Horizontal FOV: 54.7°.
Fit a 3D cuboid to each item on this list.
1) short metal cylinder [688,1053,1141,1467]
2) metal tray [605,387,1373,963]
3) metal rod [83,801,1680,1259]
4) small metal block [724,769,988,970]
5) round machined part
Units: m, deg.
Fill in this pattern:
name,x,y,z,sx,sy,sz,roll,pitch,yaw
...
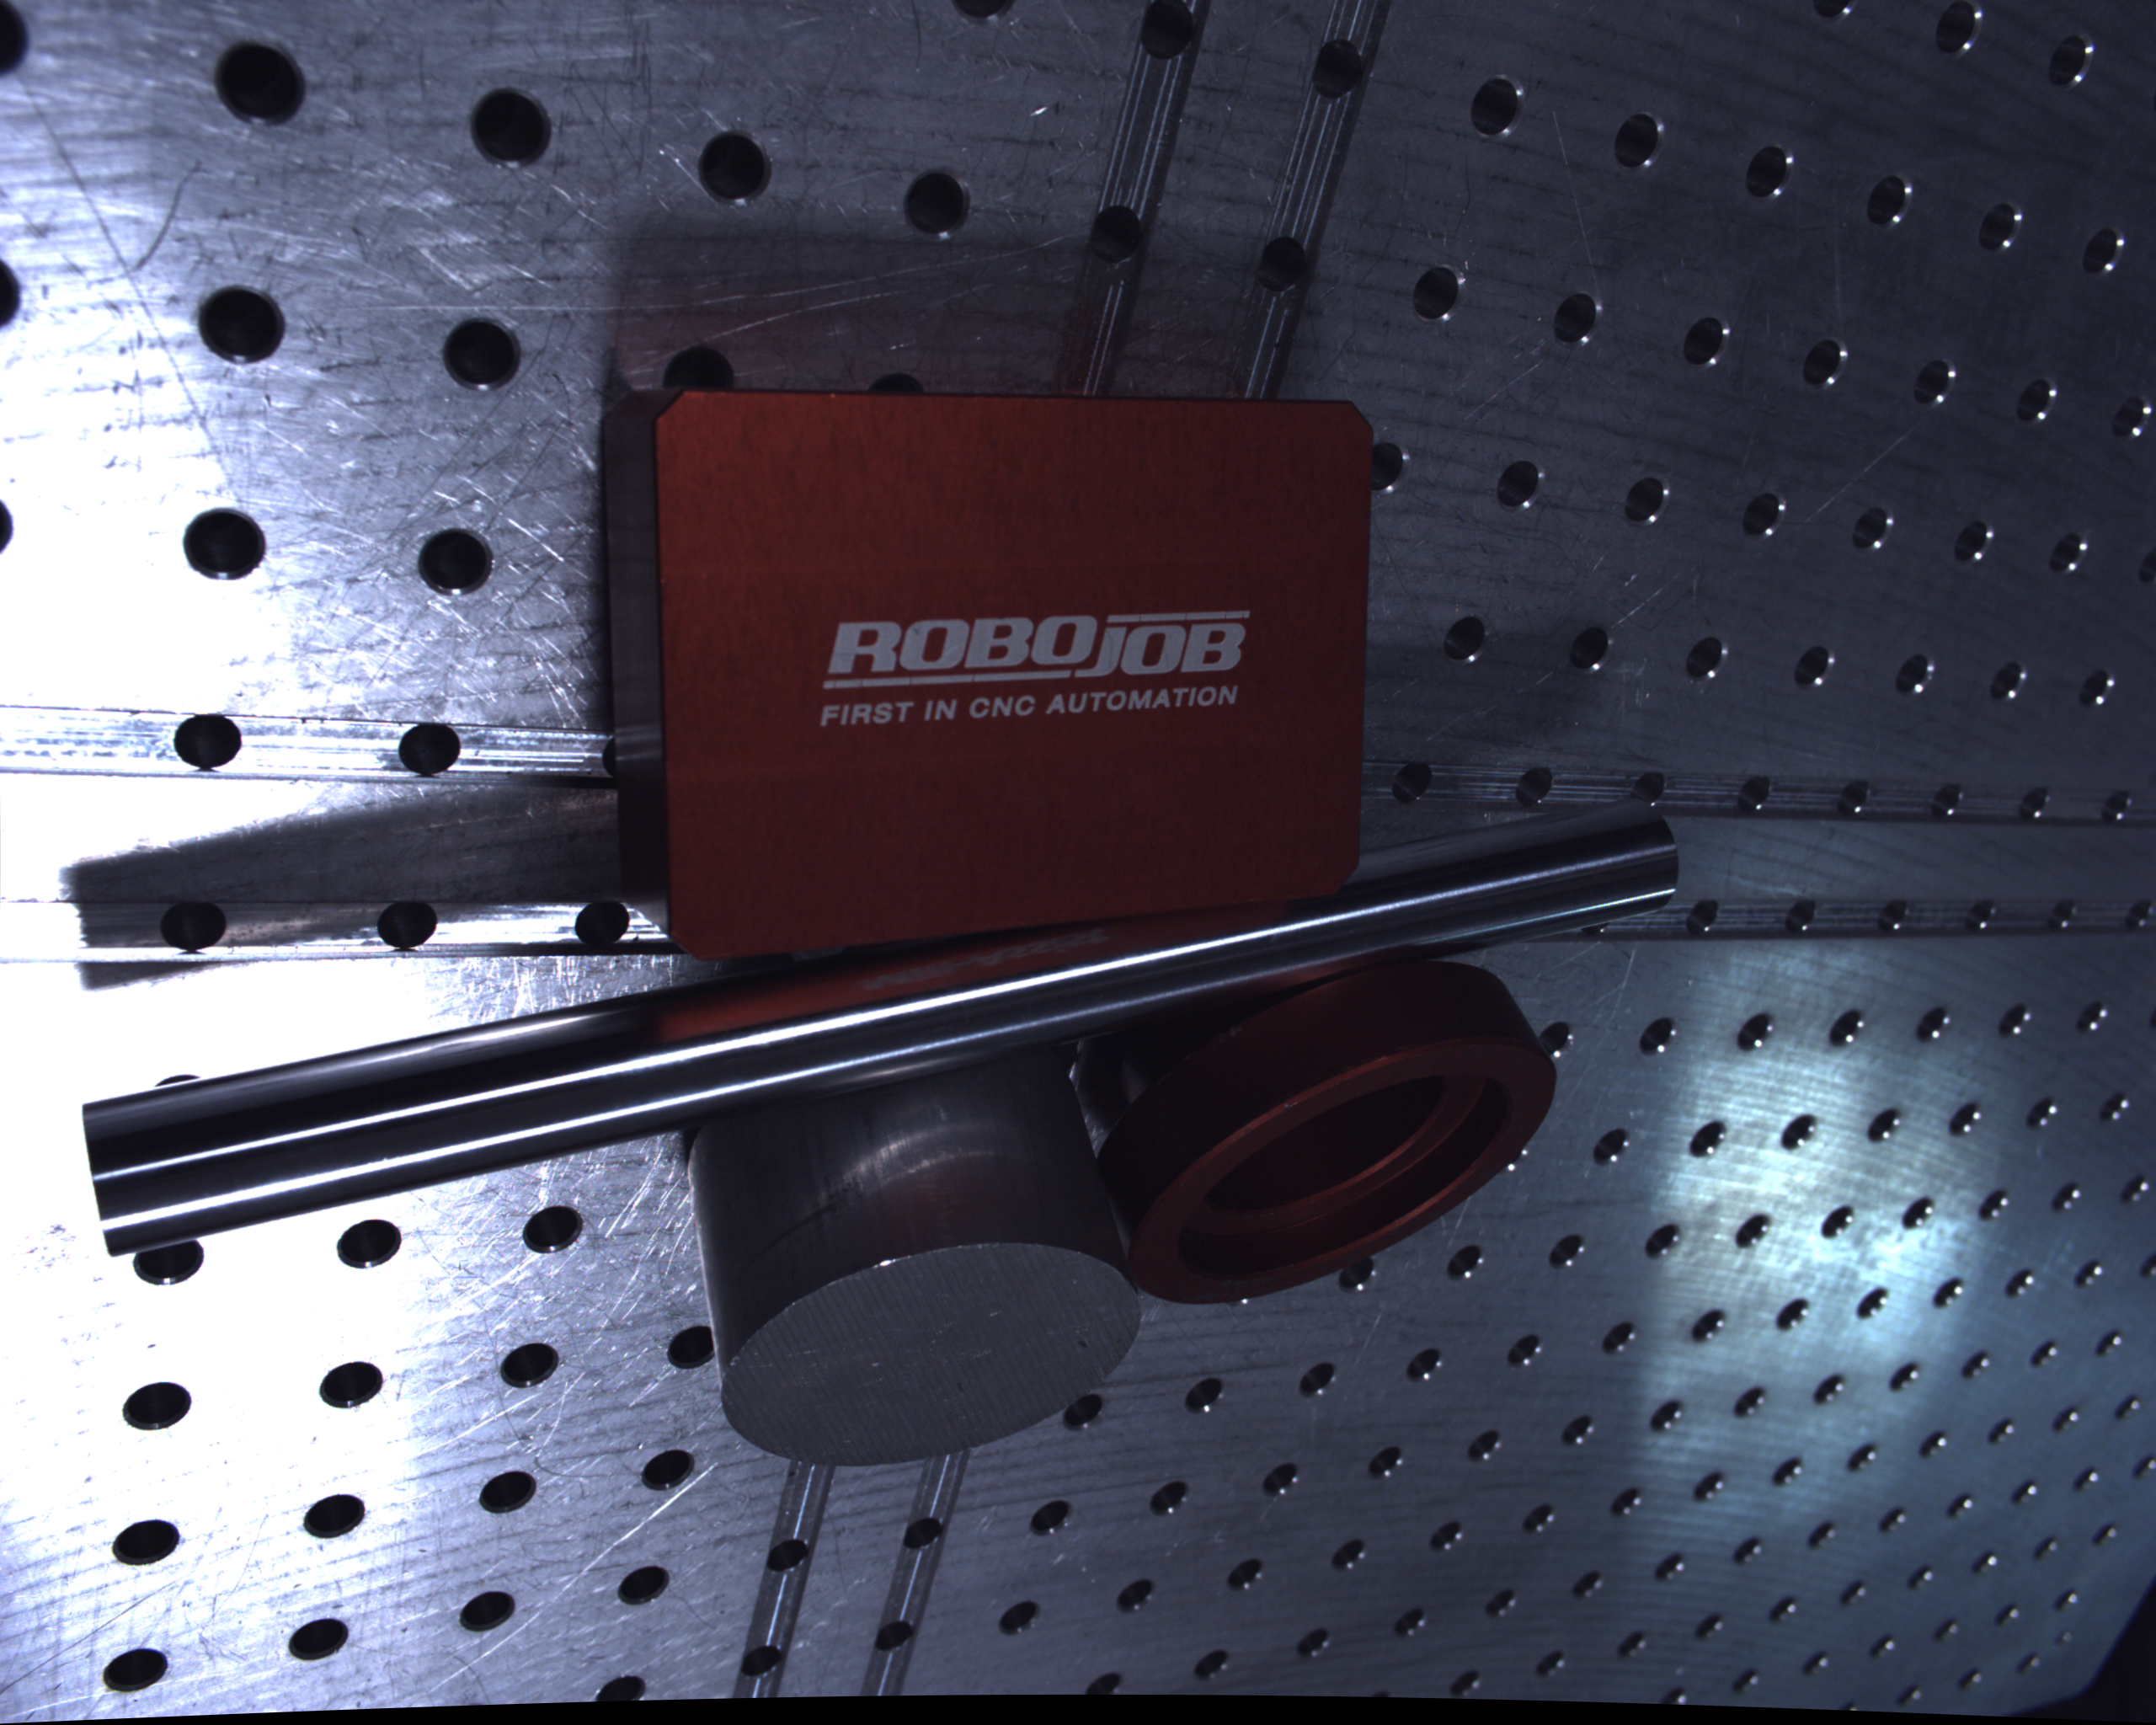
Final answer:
name,x,y,z,sx,sy,sz,roll,pitch,yaw
short metal cylinder,-0.033,0.076,0.410,0.081,0.050,0.080,-11,140,-9
metal tray,-0.012,-0.035,0.363,0.131,0.030,0.089,-5,102,-27
metal rod,-0.016,0.024,0.385,0.303,0.025,0.025,-11,123,-23
small metal block,-0.035,0.015,0.414,0.050,0.025,0.050,19,108,-36
round machined part,0.049,0.051,0.445,0.099,0.042,0.098,-18,148,-12
